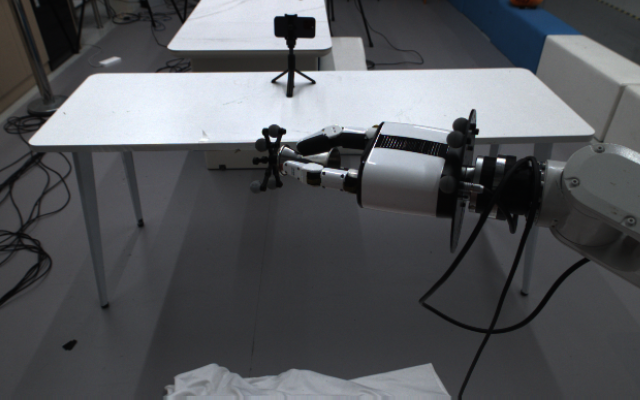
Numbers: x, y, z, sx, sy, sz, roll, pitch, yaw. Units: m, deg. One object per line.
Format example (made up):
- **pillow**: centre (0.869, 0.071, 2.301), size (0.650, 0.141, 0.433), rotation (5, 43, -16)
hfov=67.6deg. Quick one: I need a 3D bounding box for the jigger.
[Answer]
- **jigger**: centre (-0.008, -0.049, 0.596), size (0.071, 0.043, 0.043), rotation (8, 34, 23)
